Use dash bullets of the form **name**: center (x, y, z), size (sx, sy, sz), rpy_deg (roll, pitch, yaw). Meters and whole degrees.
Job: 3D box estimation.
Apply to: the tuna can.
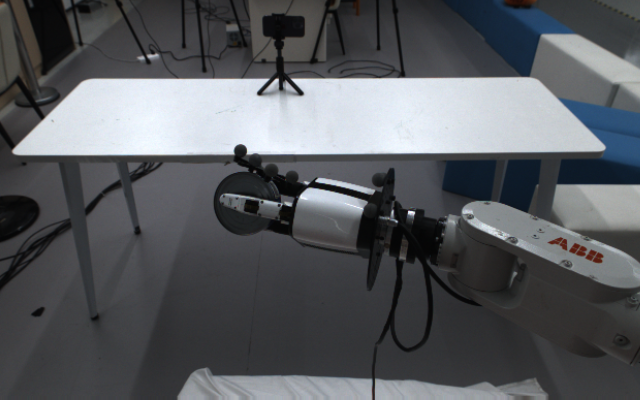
- **tuna can**: center (-0.096, 0.004, 0.654), size (0.085, 0.085, 0.034), rpy_deg (10, 4, 11)
